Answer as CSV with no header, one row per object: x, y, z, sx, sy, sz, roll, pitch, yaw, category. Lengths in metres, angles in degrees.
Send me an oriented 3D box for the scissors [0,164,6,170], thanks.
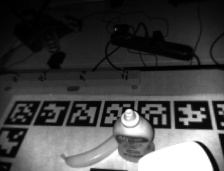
-0.217,0.205,0.473,0.200,0.016,0.088,22,60,23,scissors

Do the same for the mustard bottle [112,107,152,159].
0.046,0.112,0.525,0.095,0.193,0.058,9,51,20,mustard bottle

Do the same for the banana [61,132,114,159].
-0.045,0.149,0.602,0.198,0.039,0.073,-31,32,-15,banana

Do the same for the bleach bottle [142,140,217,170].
0.127,0.181,0.379,0.102,0.253,0.067,-21,43,4,bleach bottle
